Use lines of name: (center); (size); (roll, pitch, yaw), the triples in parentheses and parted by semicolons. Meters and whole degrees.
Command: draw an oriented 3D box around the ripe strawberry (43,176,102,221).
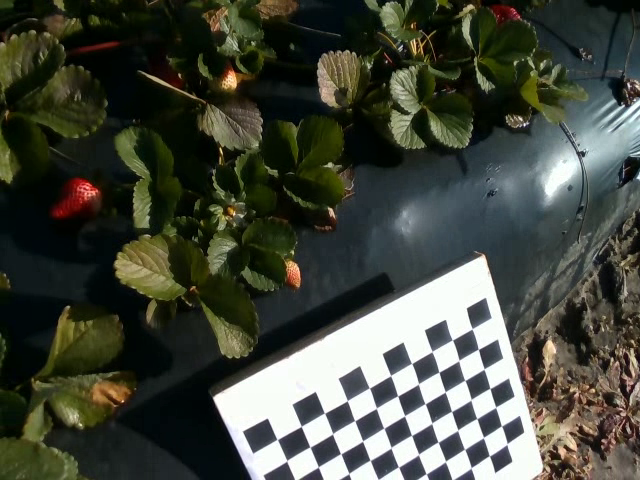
ripe strawberry: (-0.204, -0.031, 0.505); (0.044, 0.042, 0.055); (4, 36, 48)
